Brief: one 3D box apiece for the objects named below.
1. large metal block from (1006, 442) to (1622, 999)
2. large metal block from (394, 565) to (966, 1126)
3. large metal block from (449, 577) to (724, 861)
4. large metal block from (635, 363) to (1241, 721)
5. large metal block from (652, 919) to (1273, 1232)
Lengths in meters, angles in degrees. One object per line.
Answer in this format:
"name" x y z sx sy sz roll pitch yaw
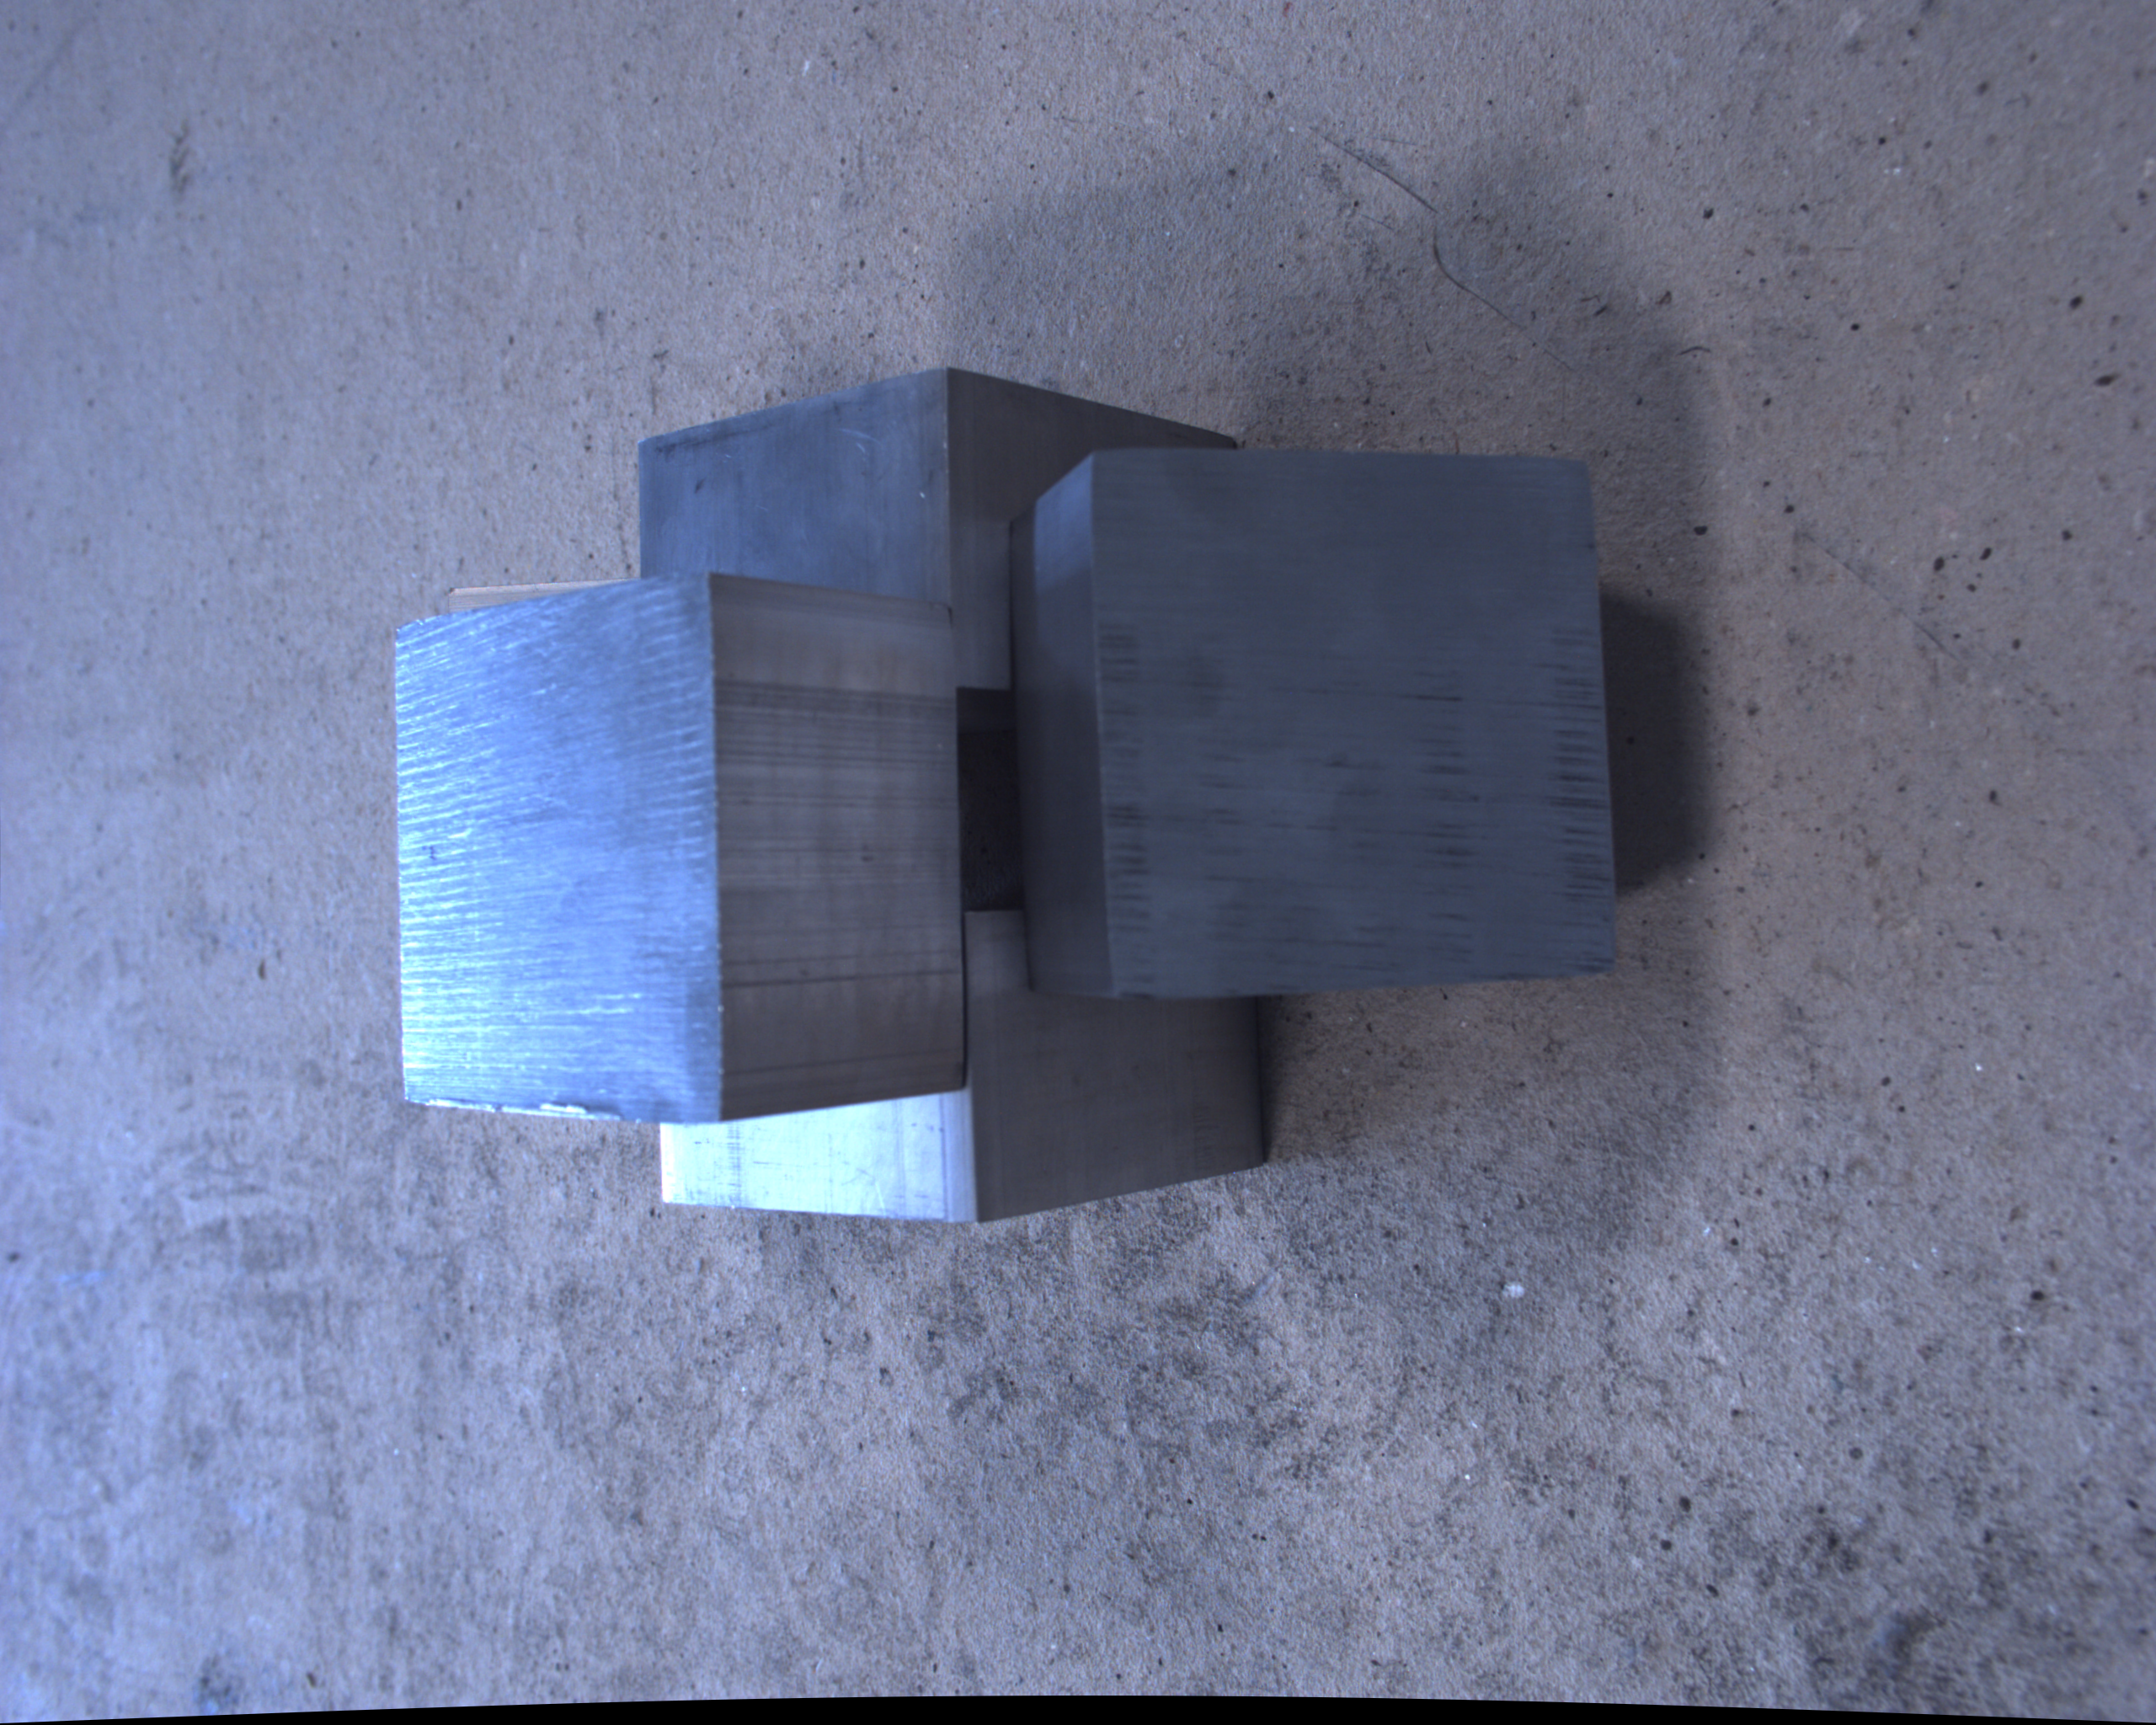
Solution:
"large metal block" 0.035 -0.021 0.331 0.050 0.081 0.080 170 97 -74
"large metal block" -0.066 -0.001 0.340 0.080 0.050 0.080 -3 88 40
"large metal block" -0.094 -0.014 0.440 0.050 0.080 0.080 -3 87 0
"large metal block" -0.025 -0.055 0.392 0.080 0.081 0.050 -2 89 39
"large metal block" -0.021 0.036 0.390 0.080 0.081 0.050 -5 87 40
